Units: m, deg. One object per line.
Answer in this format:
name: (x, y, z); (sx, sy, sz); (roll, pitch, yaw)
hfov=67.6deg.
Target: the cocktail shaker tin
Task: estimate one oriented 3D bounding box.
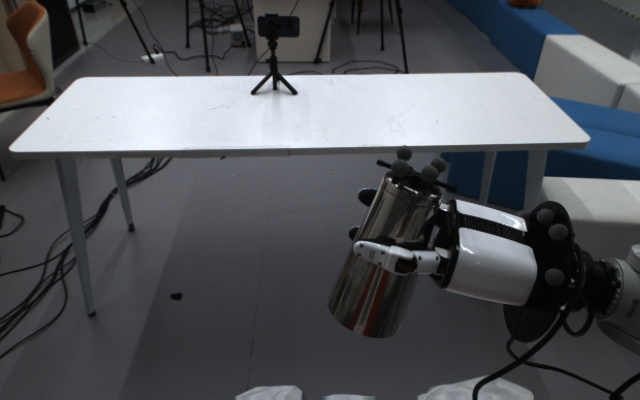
cocktail shaker tin: (0.079, 0.058, 0.545); (0.093, 0.170, 0.093); (15, 21, -6)
